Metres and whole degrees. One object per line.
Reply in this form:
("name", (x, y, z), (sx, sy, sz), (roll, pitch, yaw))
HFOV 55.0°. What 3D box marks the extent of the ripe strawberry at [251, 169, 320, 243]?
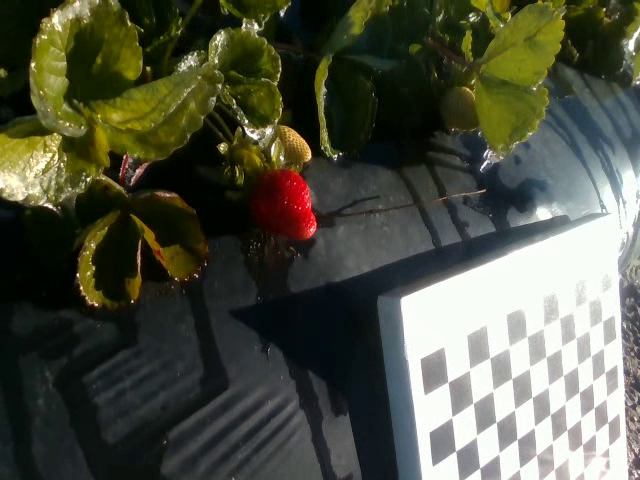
("ripe strawberry", (-0.011, -0.012, 0.267), (0.039, 0.040, 0.039), (-23, 43, -27))
